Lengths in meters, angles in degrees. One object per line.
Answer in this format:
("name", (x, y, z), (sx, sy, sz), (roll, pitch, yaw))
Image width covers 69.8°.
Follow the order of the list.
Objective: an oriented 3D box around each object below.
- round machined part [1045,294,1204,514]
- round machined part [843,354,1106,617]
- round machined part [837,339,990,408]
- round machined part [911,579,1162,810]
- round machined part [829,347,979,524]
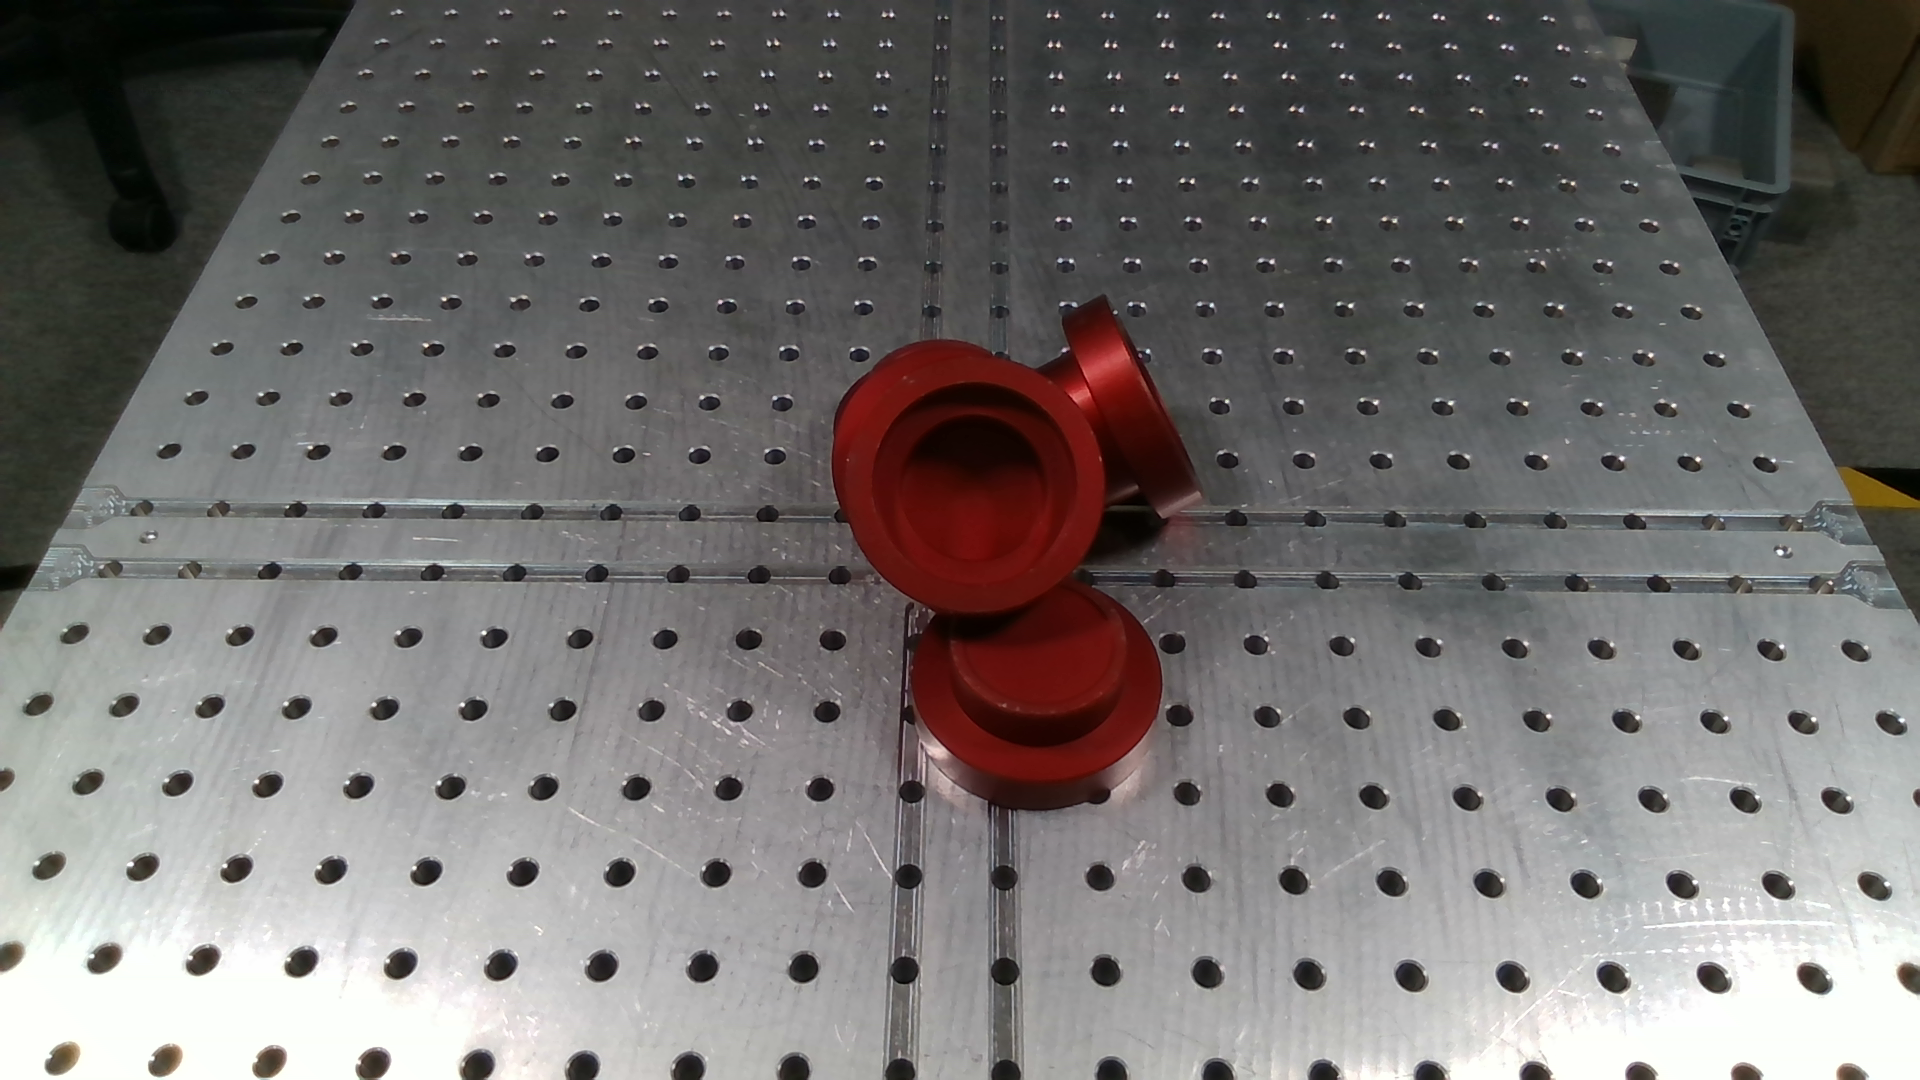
("round machined part", (0.065, -0.053, 0.593), (0.042, 0.098, 0.098), (-26, 50, 12))
("round machined part", (0.005, -0.019, 0.532), (0.098, 0.042, 0.098), (0, 83, -1))
("round machined part", (-0.009, -0.053, 0.624), (0.098, 0.042, 0.098), (0, 50, 0))
("round machined part", (0.030, 0.052, 0.536), (0.098, 0.042, 0.098), (0, 50, 0))
("round machined part", (-0.005, -0.033, 0.575), (0.098, 0.042, 0.098), (0, 87, -3))
